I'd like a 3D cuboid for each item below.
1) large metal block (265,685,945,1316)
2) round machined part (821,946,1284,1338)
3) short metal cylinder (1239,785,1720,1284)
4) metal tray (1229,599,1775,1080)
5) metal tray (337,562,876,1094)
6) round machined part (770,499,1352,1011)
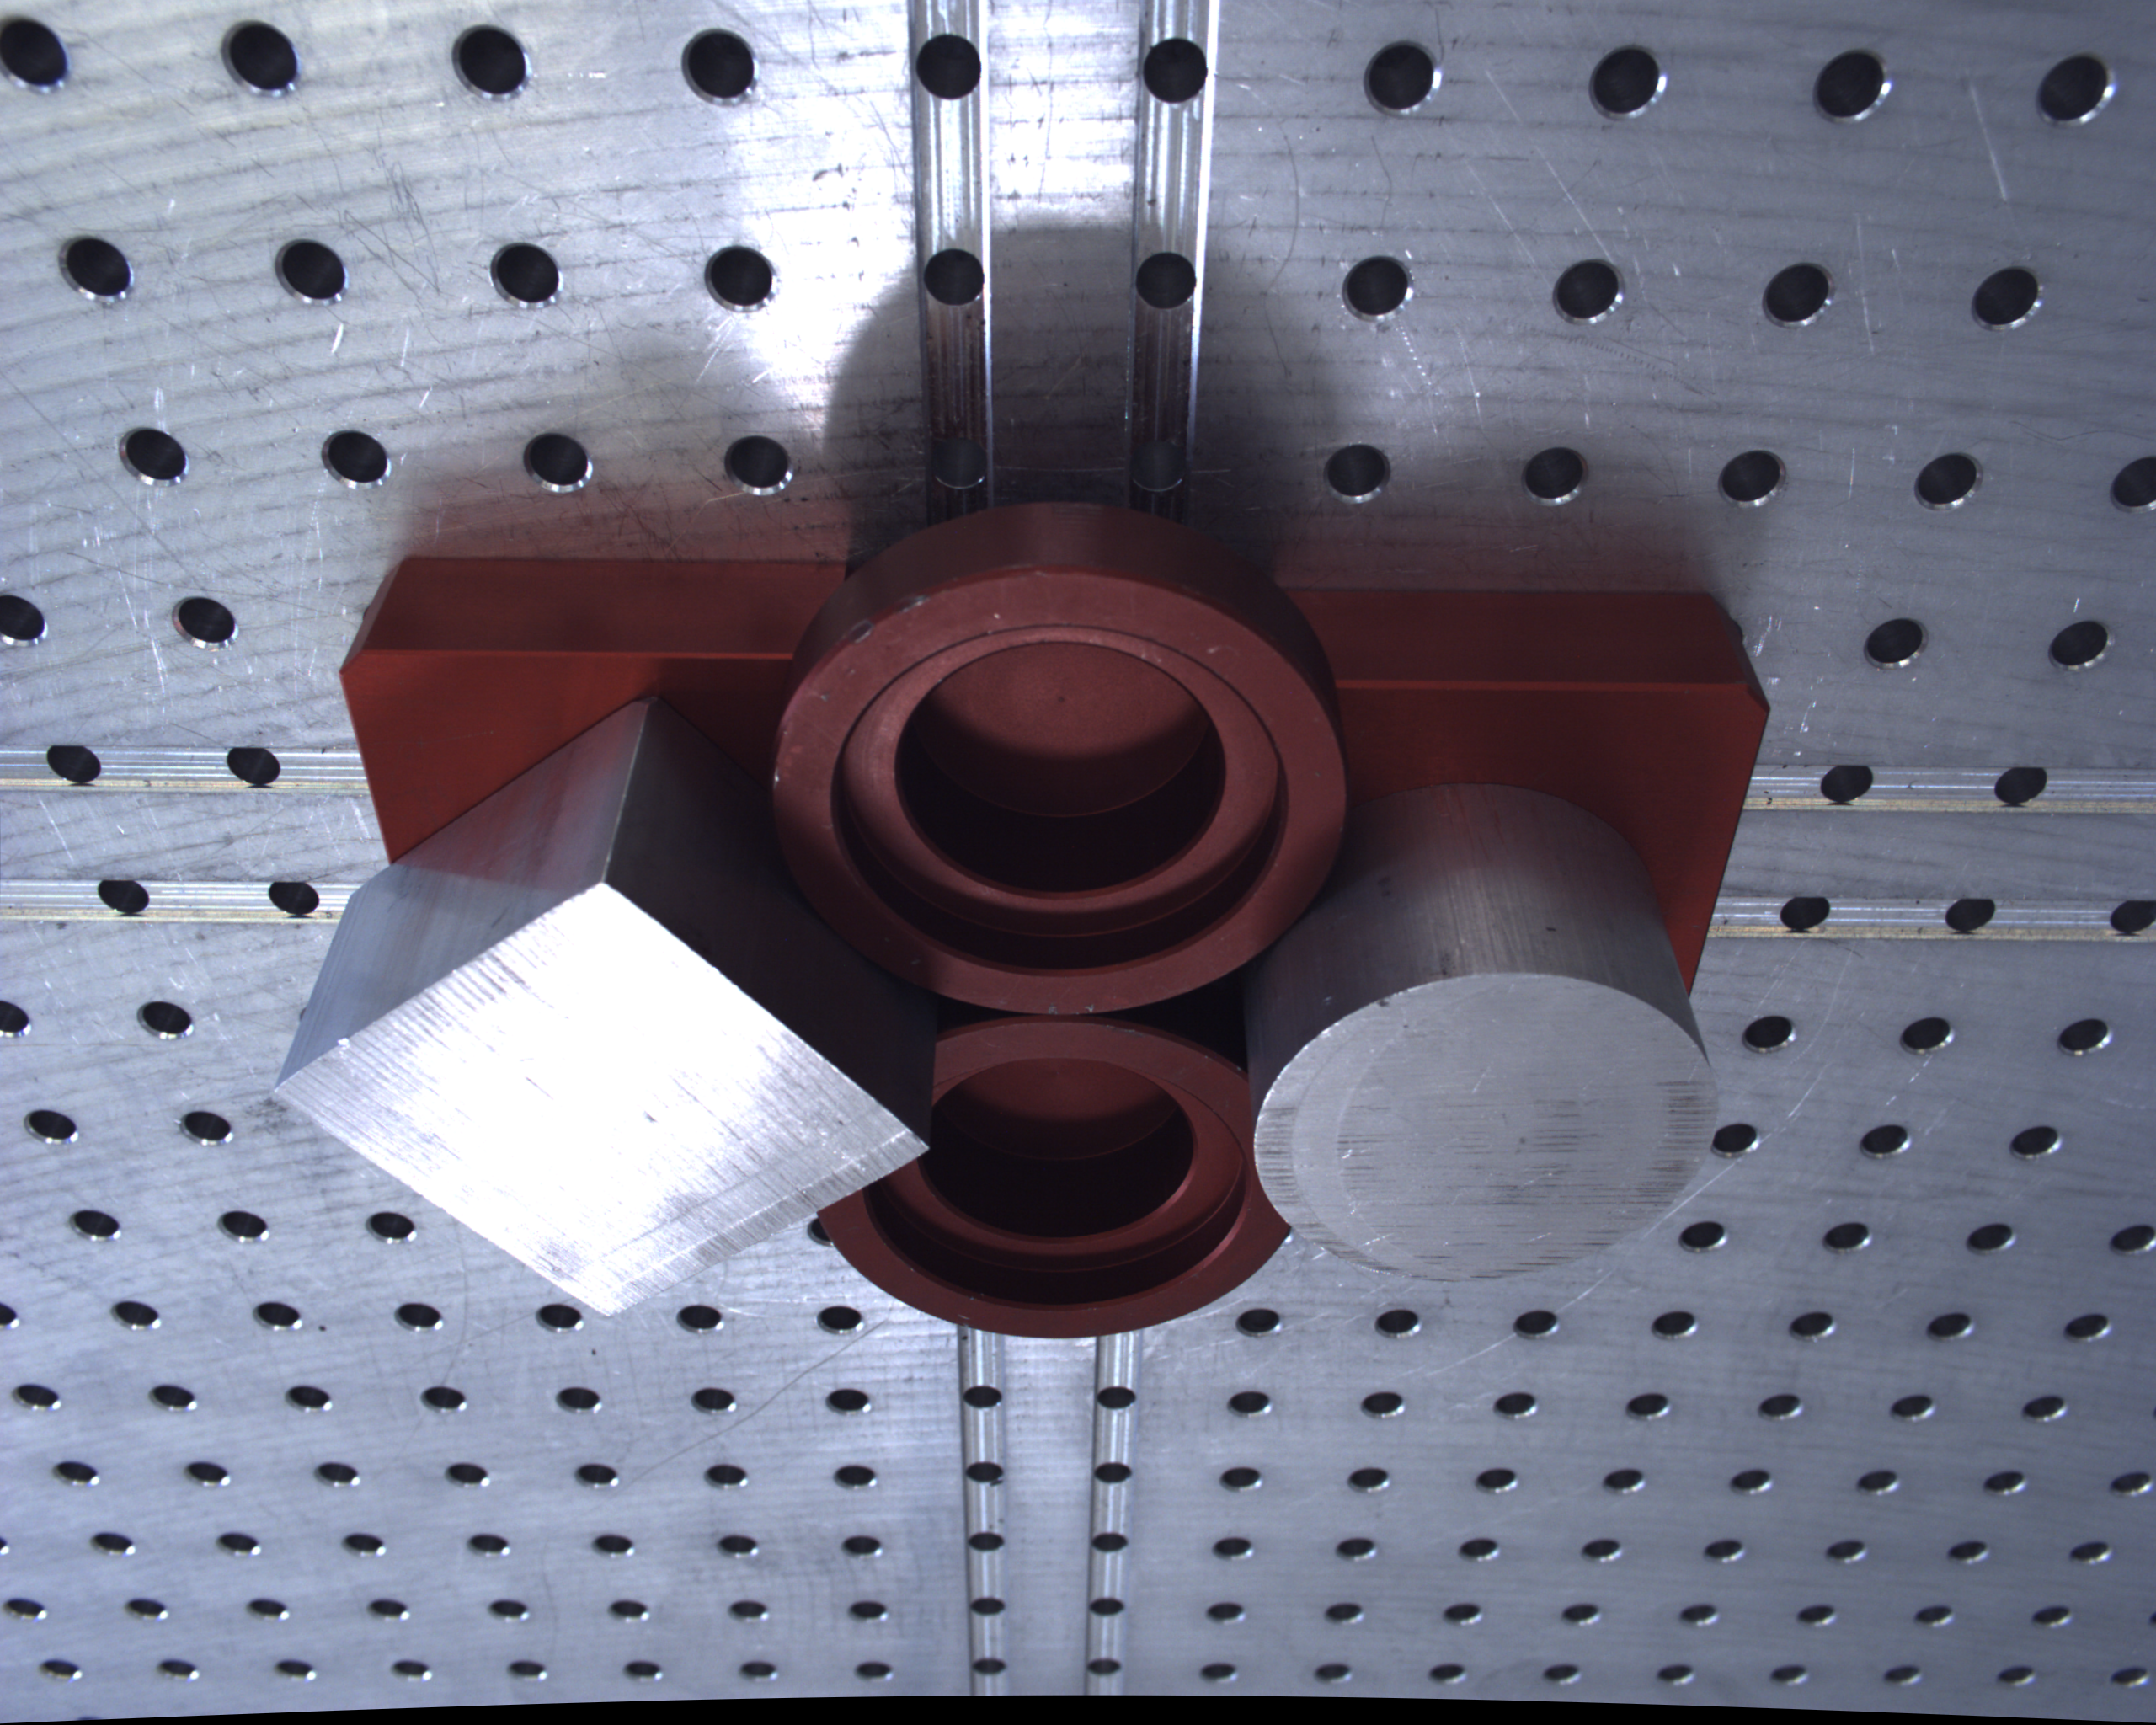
[{"bbox_3d":[-0.081,0.028,0.378,0.080,0.050,0.080,-30,124,23],"label":"large metal block"},{"bbox_3d":[-0.004,0.052,0.433,0.099,0.042,0.097,0,130,0],"label":"round machined part"},{"bbox_3d":[0.071,0.032,0.383,0.081,0.050,0.079,0,130,0],"label":"short metal cylinder"},{"bbox_3d":[0.076,0.010,0.415,0.091,0.030,0.129,0,130,-1],"label":"metal tray"},{"bbox_3d":[-0.083,0.004,0.410,0.091,0.030,0.129,0,130,-2],"label":"metal tray"},{"bbox_3d":[-0.003,-0.022,0.369,0.099,0.042,0.097,0,130,0],"label":"round machined part"}]
